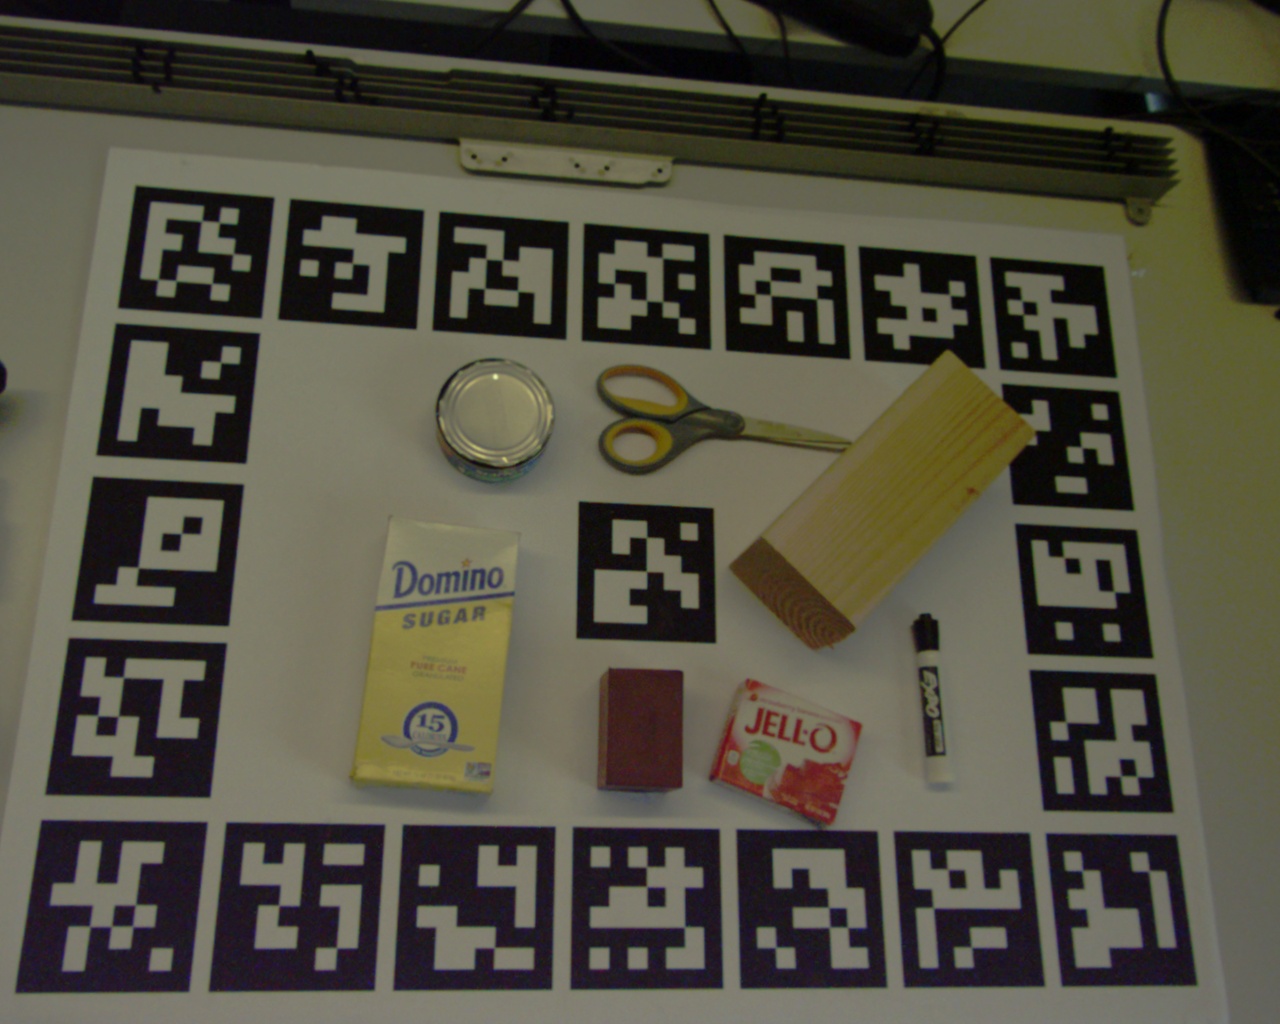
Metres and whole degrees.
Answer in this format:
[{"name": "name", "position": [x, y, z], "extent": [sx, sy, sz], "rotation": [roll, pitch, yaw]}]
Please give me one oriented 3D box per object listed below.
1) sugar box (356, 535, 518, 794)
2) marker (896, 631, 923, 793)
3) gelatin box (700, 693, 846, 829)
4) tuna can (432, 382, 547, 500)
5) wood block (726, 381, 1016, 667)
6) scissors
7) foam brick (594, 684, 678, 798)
[{"name": "sugar box", "position": [-0.143, 0.109, 0.817], "extent": [0.092, 0.045, 0.176], "rotation": [8, 74, -7]}, {"name": "marker", "position": [0.205, 0.151, 0.865], "extent": [0.019, 0.020, 0.121], "rotation": [5, 77, -8]}, {"name": "gelatin box", "position": [0.097, 0.183, 0.837], "extent": [0.089, 0.030, 0.073], "rotation": [21, 74, -2]}, {"name": "tuna can", "position": [-0.114, -0.053, 0.866], "extent": [0.085, 0.034, 0.086], "rotation": [2, 76, -8]}, {"name": "wood block", "position": [0.175, 0.011, 0.867], "extent": [0.090, 0.091, 0.205], "rotation": [45, 73, 5]}, {"name": "scissors", "position": [0.055, -0.049, 0.901], "extent": [0.202, 0.016, 0.088], "rotation": [10, 74, -3]}, {"name": "foam brick", "position": [-0.003, 0.164, 0.813], "extent": [0.052, 0.051, 0.078], "rotation": [5, 75, -7]}]
